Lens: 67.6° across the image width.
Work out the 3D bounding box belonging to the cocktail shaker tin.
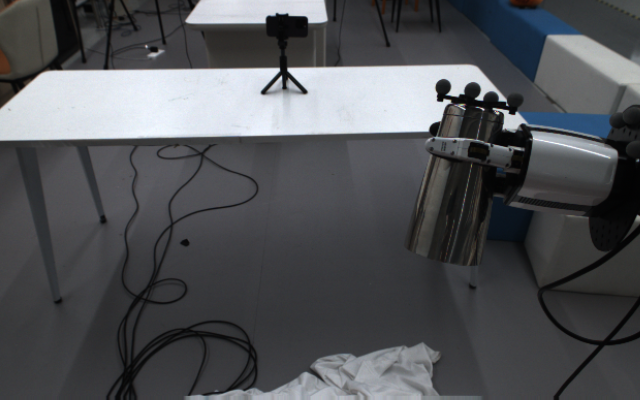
[{"bbox_3d":[0.164,-0.022,0.563,0.093,0.170,0.093,10,9,-2],"label":"cocktail shaker tin"}]
